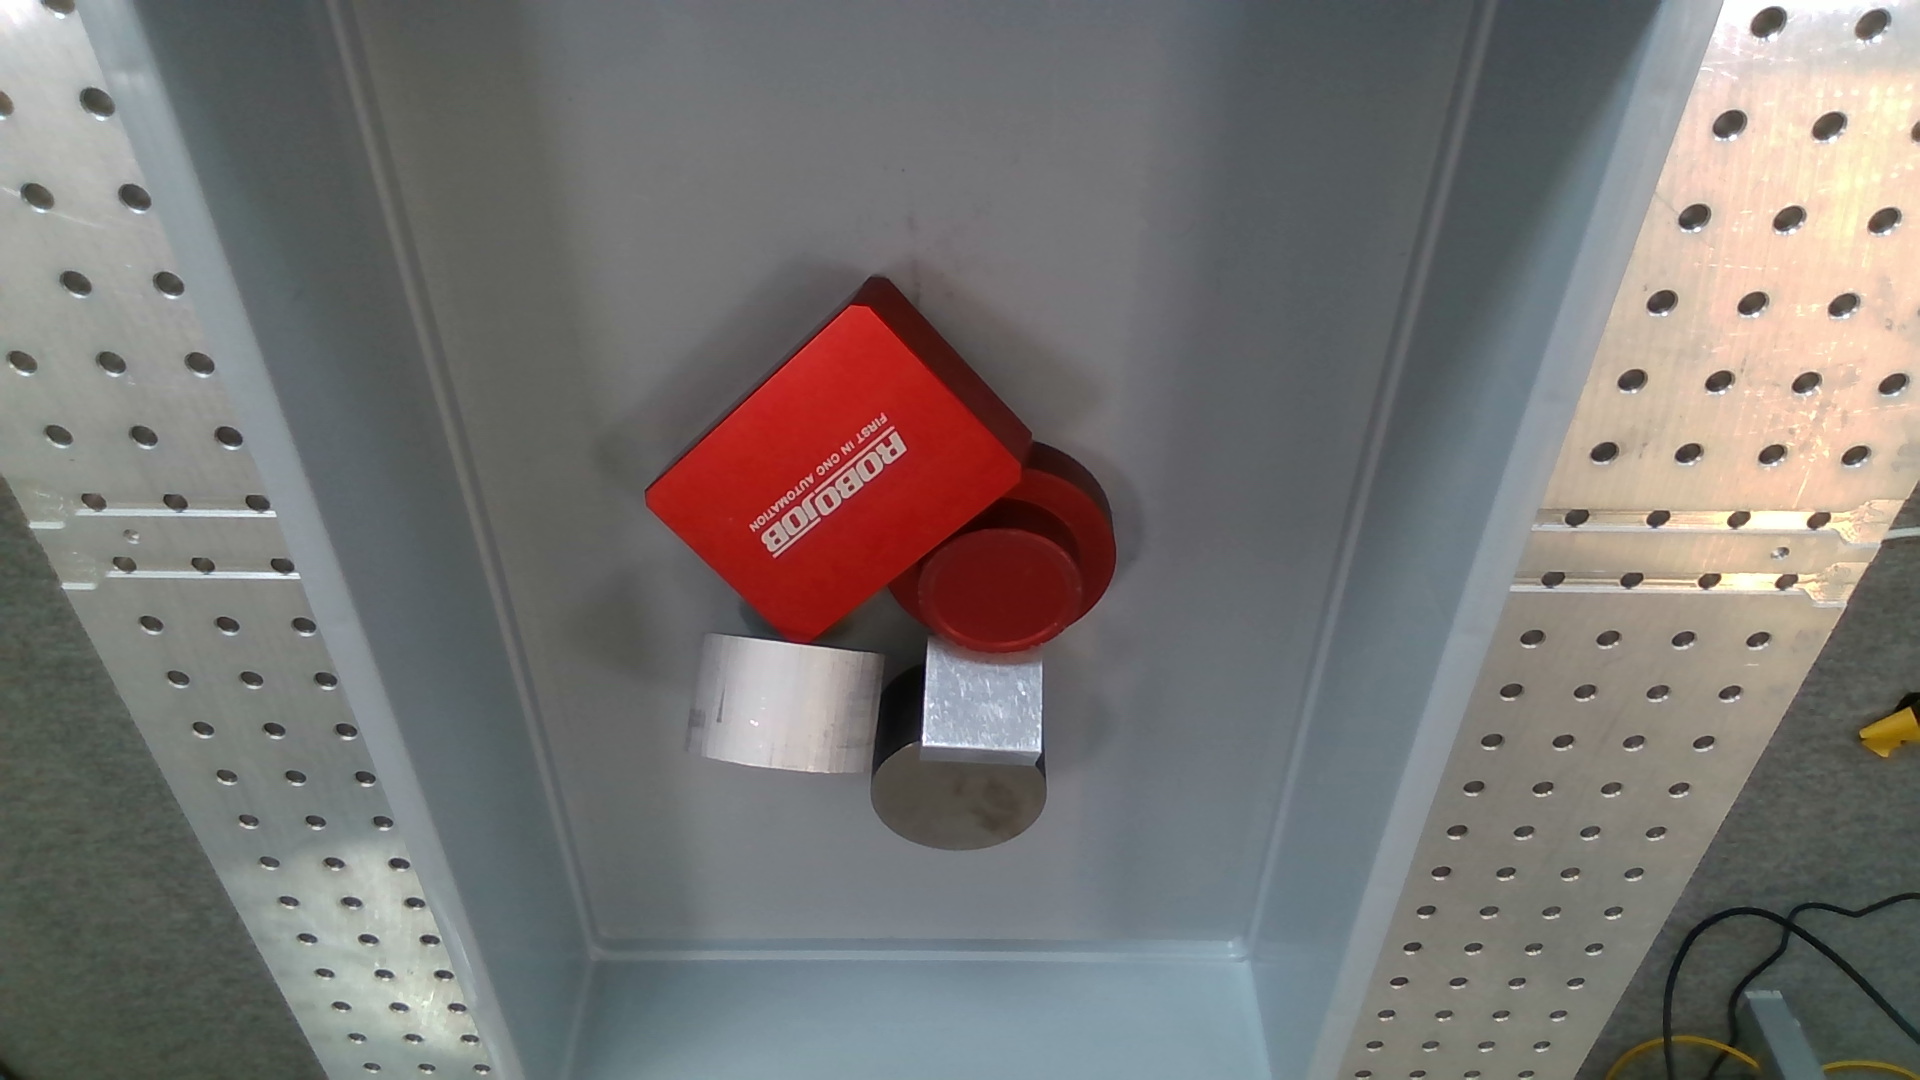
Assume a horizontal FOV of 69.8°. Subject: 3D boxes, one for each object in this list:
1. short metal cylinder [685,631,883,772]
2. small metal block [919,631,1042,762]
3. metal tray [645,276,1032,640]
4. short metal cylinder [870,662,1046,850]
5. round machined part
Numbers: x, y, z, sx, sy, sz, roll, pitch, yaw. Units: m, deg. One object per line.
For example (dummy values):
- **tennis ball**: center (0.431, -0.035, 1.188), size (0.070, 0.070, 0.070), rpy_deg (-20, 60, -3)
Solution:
- **short metal cylinder**: center (-0.075, 0.068, 0.592), size (0.080, 0.080, 0.050), rpy_deg (7, 86, -6)
- **small metal block**: center (0.009, 0.069, 0.596), size (0.050, 0.050, 0.025), rpy_deg (3, 158, -4)
- **metal tray**: center (-0.048, -0.028, 0.536), size (0.130, 0.030, 0.090), rpy_deg (-37, 106, 27)
- **short metal cylinder**: center (-0.001, 0.100, 0.647), size (0.080, 0.050, 0.080), rpy_deg (0, 130, 0)
- **round machined part**: center (0.016, 0.009, 0.574), size (0.098, 0.042, 0.098), rpy_deg (0, 130, 0)
